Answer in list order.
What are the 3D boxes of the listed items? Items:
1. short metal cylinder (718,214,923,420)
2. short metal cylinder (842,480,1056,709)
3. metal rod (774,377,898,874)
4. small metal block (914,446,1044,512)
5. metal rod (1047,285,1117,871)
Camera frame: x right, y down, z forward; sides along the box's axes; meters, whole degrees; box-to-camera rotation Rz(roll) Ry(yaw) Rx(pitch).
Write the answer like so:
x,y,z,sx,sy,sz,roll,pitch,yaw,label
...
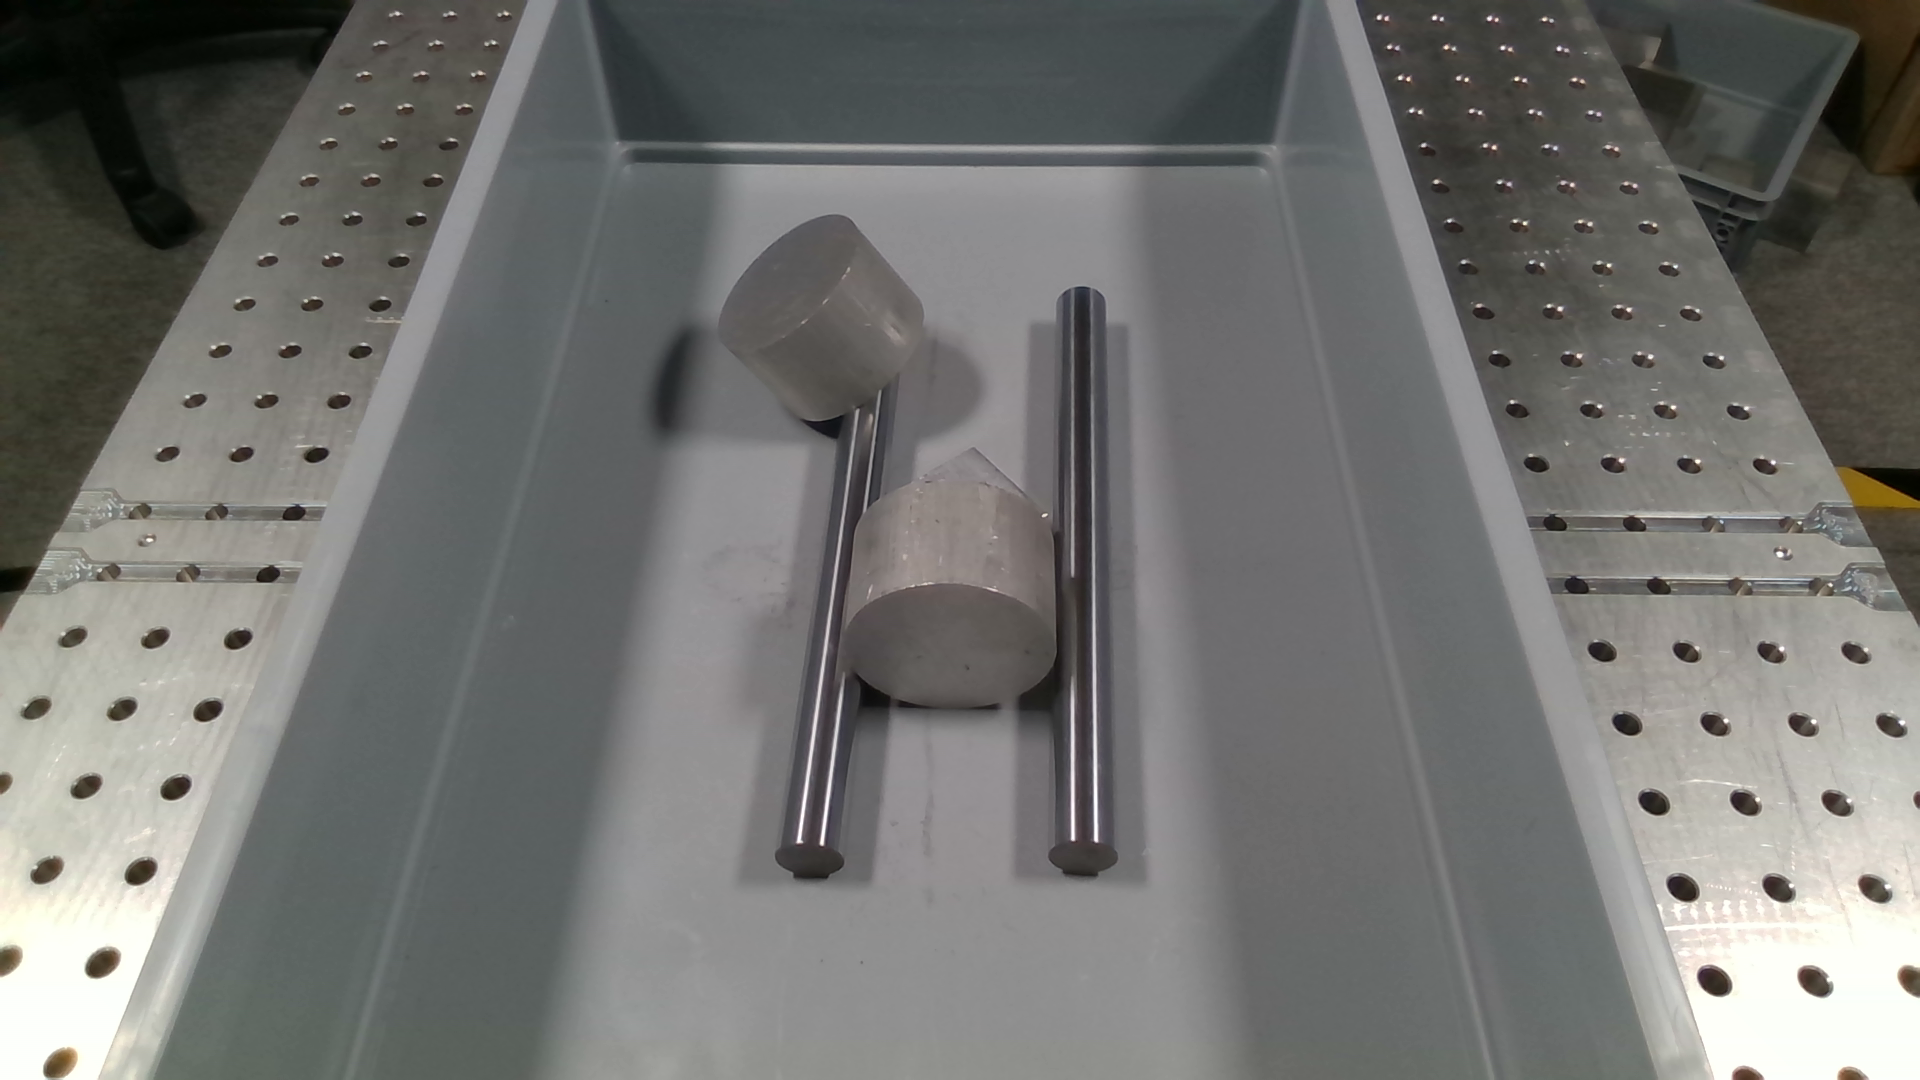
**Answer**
x,y,z,sx,sy,sz,roll,pitch,yaw,label
-0.064,-0.102,0.632,0.080,0.050,0.080,-24,43,25,short metal cylinder
-0.003,0.022,0.531,0.080,0.080,0.050,1,50,1,short metal cylinder
-0.046,-0.001,0.586,0.025,0.025,0.299,2,50,2,metal rod
0.001,-0.006,0.591,0.050,0.025,0.050,-31,57,-23,small metal block
0.052,-0.002,0.587,0.025,0.025,0.299,2,50,2,metal rod
